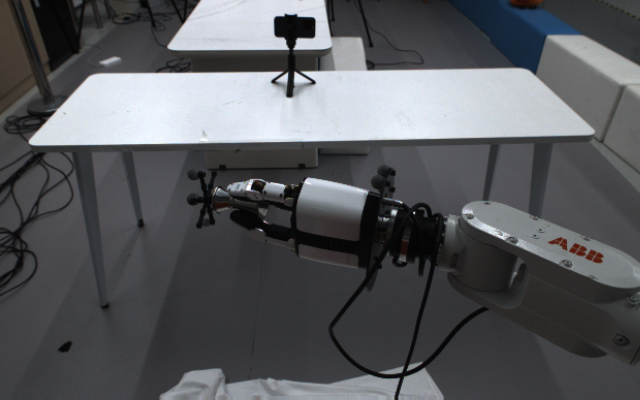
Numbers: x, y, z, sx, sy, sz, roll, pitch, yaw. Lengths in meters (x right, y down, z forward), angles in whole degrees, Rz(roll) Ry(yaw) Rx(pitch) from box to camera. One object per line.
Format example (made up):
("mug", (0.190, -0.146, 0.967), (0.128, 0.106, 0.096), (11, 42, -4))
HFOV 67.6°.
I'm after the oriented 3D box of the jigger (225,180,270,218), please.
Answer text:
("jigger", (-0.102, -0.002, 0.670), (0.071, 0.043, 0.043), (4, 34, 12))
